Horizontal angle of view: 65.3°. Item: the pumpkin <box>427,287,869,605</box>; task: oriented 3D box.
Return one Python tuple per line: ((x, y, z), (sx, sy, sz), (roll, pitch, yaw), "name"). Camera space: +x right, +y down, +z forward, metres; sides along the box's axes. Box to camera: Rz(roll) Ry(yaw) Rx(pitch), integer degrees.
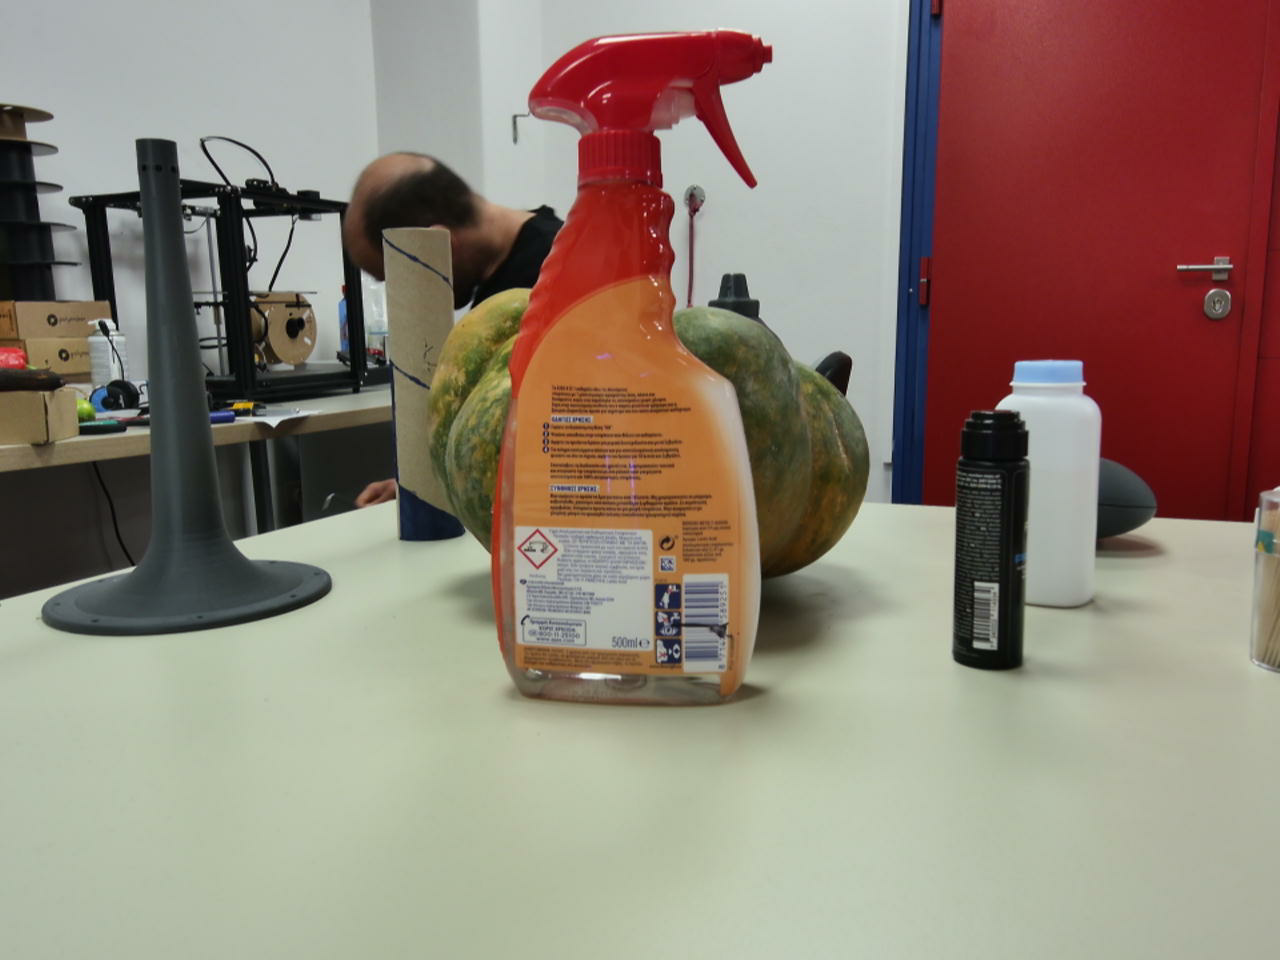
((0.003, -0.023, 0.583), (0.237, 0.173, 0.270), (-3, 7, -29), "pumpkin")
